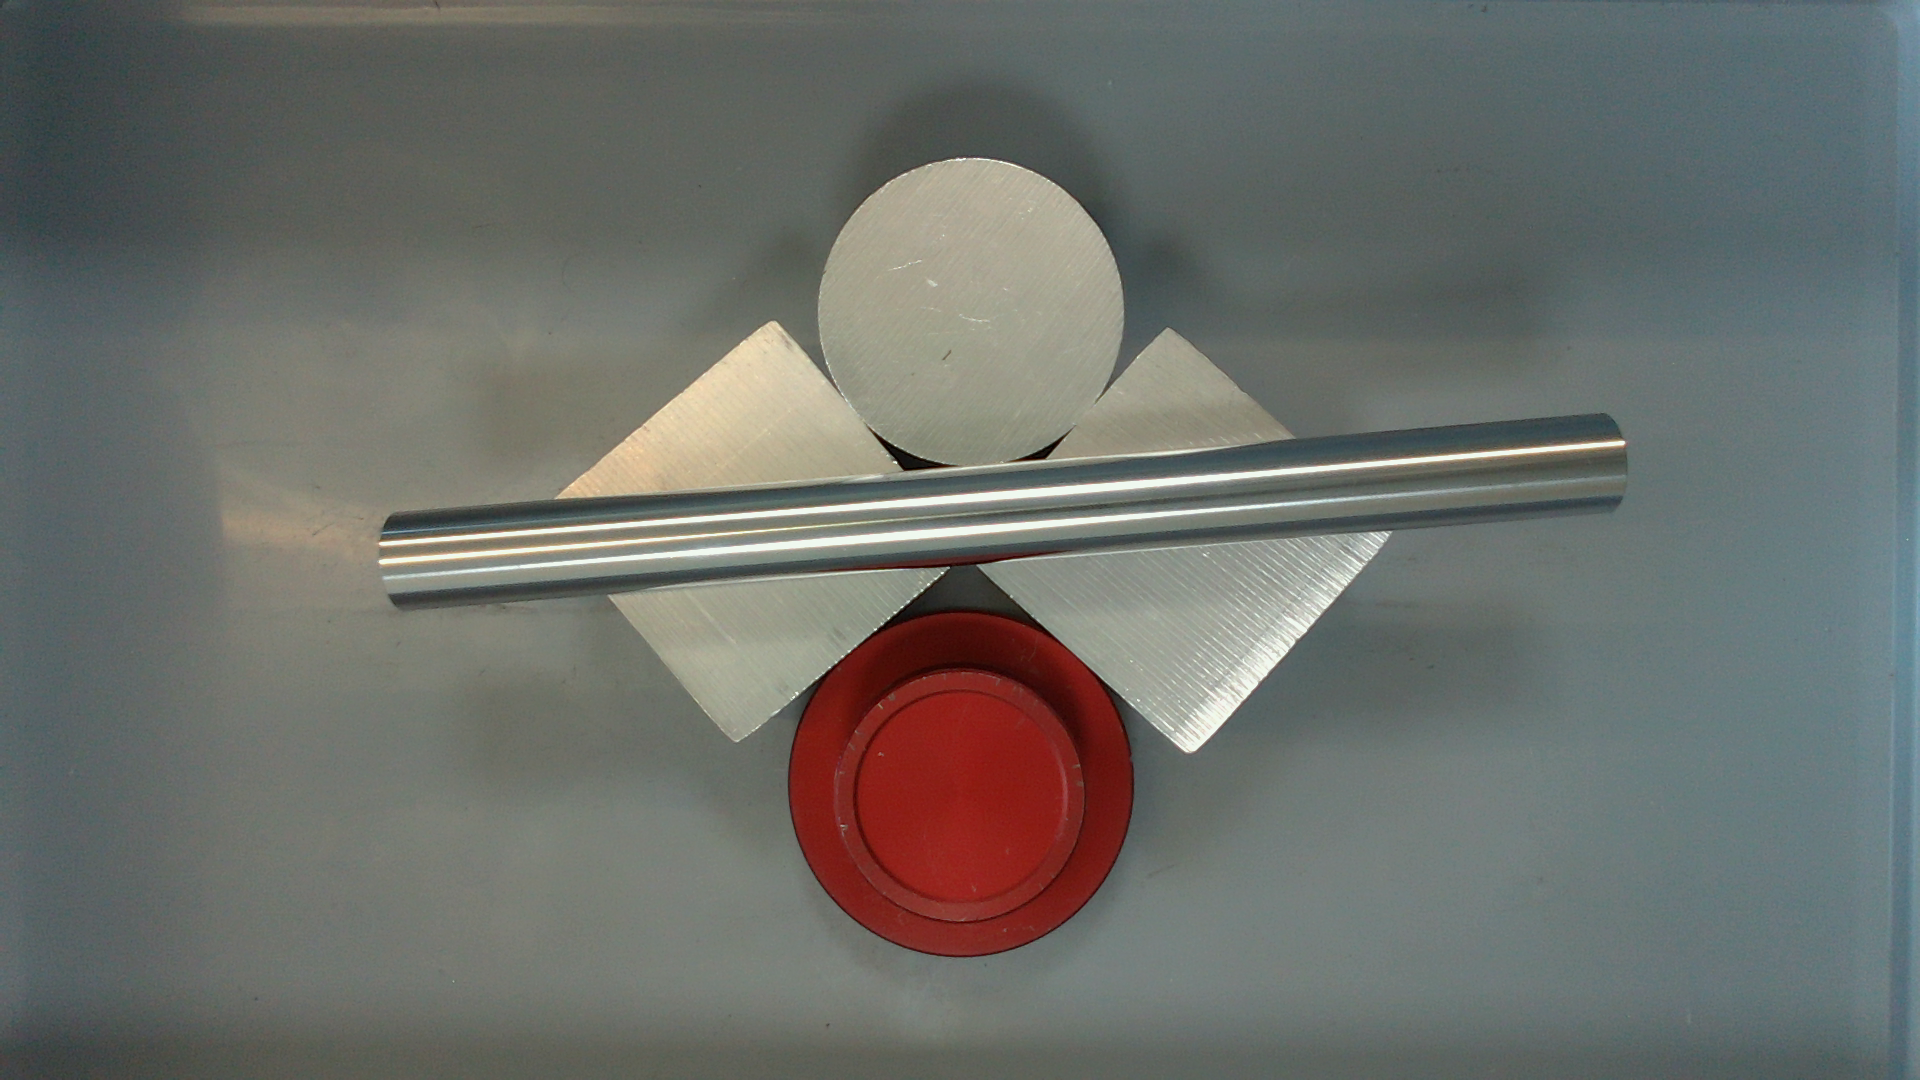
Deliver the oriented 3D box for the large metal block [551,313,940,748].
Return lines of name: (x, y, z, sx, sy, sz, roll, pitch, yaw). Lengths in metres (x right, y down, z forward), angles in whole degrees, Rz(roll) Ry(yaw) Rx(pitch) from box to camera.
large metal block: (-0.054, -0.003, 0.381, 0.080, 0.050, 0.080, -40, 92, 0)

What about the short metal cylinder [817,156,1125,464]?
short metal cylinder: (0.003, -0.059, 0.381, 0.080, 0.050, 0.080, 0, 90, 0)

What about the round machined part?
round machined part: (0.000, 0.069, 0.385, 0.098, 0.042, 0.098, 0, 90, 0)

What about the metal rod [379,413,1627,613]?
metal rod: (0.010, -0.007, 0.342, 0.300, 0.025, 0.025, -5, 90, 0)

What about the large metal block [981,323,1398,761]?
large metal block: (0.058, 0.000, 0.379, 0.080, 0.050, 0.080, 42, 91, 0)
